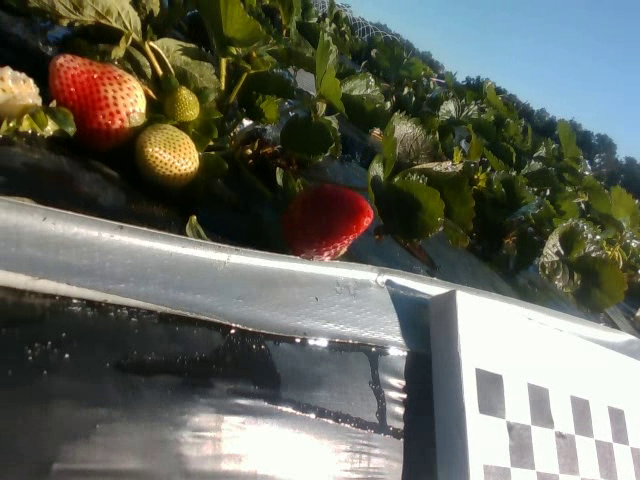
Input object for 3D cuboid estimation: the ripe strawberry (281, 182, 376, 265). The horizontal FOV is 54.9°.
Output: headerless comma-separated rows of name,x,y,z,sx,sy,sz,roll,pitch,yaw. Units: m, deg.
ripe strawberry,0.005,-0.007,0.237,0.036,0.038,0.045,17,-14,-33
